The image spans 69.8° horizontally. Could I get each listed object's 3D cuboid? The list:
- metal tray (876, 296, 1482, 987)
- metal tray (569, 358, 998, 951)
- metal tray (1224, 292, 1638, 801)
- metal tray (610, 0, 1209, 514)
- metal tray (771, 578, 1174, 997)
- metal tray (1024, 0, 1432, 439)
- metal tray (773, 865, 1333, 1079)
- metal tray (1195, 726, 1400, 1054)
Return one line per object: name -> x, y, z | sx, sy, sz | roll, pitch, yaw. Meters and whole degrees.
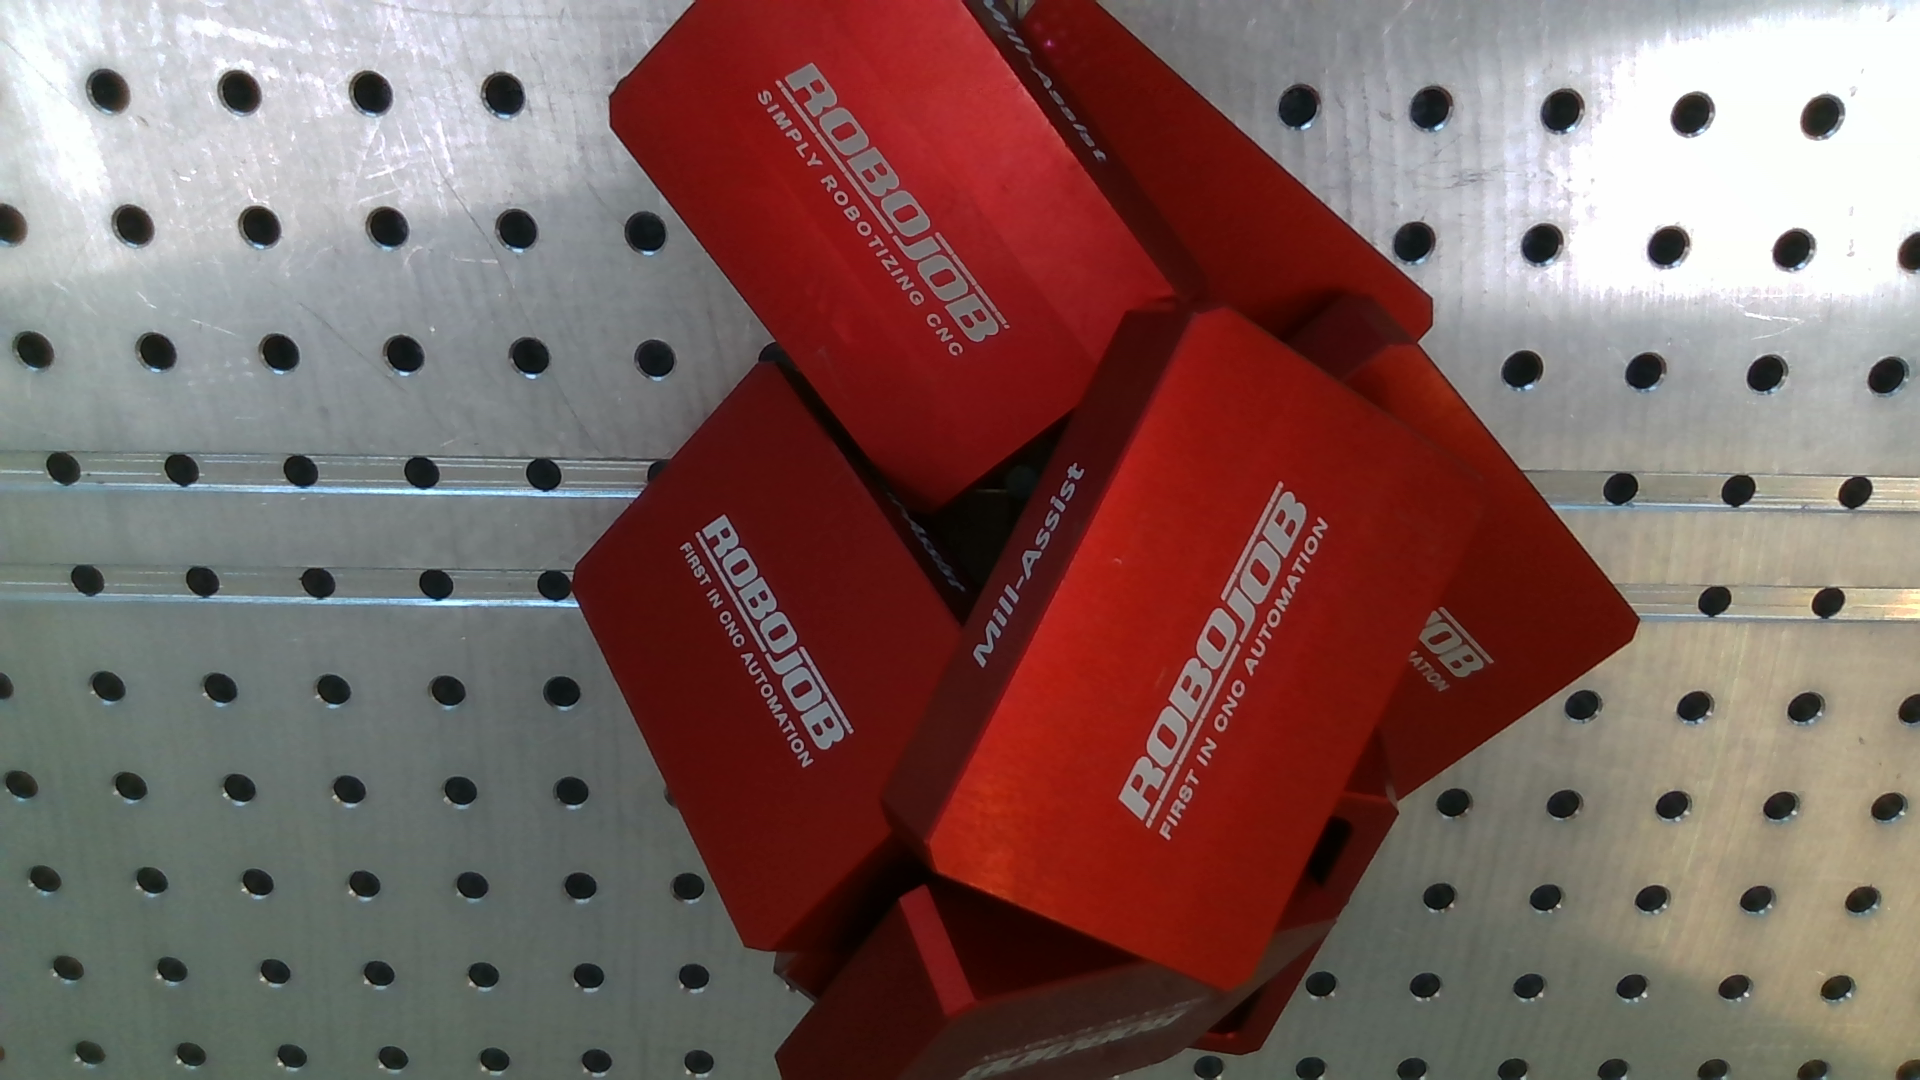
metal tray -> 0.051, 0.023, 0.308 | 0.090, 0.030, 0.130 | 28, 88, -24
metal tray -> -0.043, 0.027, 0.356 | 0.090, 0.130, 0.030 | -45, 146, 15
metal tray -> 0.112, 0.008, 0.376 | 0.090, 0.030, 0.130 | -41, 119, 15
metal tray -> -0.013, -0.083, 0.338 | 0.090, 0.030, 0.130 | -35, 95, 28
metal tray -> 0.006, 0.064, 0.385 | 0.030, 0.090, 0.130 | 43, 104, -13
metal tray -> 0.047, -0.069, 0.367 | 0.130, 0.030, 0.090 | 37, 106, -13
metal tray -> 0.026, 0.120, 0.370 | 0.130, 0.030, 0.090 | 0, 139, -36
metal tray -> 0.061, 0.099, 0.406 | 0.090, 0.030, 0.130 | 9, 130, -4
